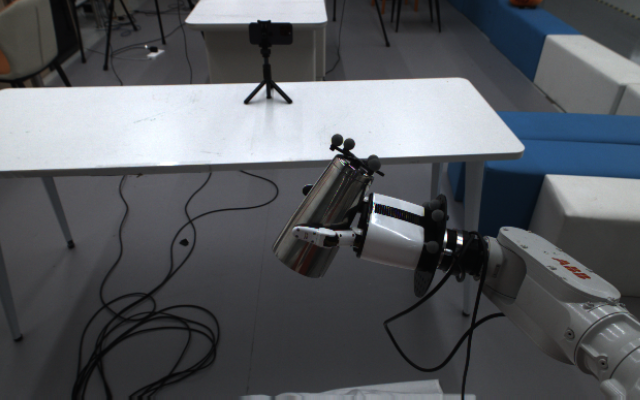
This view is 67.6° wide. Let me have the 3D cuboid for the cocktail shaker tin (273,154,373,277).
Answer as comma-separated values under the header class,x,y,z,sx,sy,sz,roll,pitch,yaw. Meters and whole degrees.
class,x,y,z,sx,sy,sz,roll,pitch,yaw
cocktail shaker tin,0.009,0.017,0.719,0.093,0.170,0.093,28,14,-8
